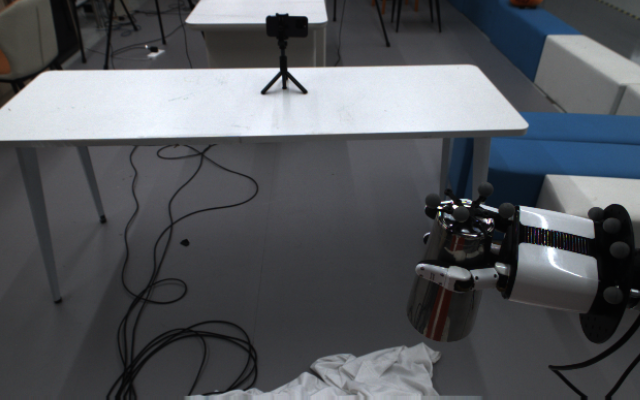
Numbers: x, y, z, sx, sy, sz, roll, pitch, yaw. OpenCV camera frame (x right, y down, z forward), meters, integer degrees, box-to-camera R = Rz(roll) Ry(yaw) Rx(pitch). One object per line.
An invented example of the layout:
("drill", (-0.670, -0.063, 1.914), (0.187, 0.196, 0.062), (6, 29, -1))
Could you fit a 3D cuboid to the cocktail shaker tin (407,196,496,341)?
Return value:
("cocktail shaker tin", (0.169, 0.084, 0.607), (0.093, 0.170, 0.093), (1, 39, -1))
